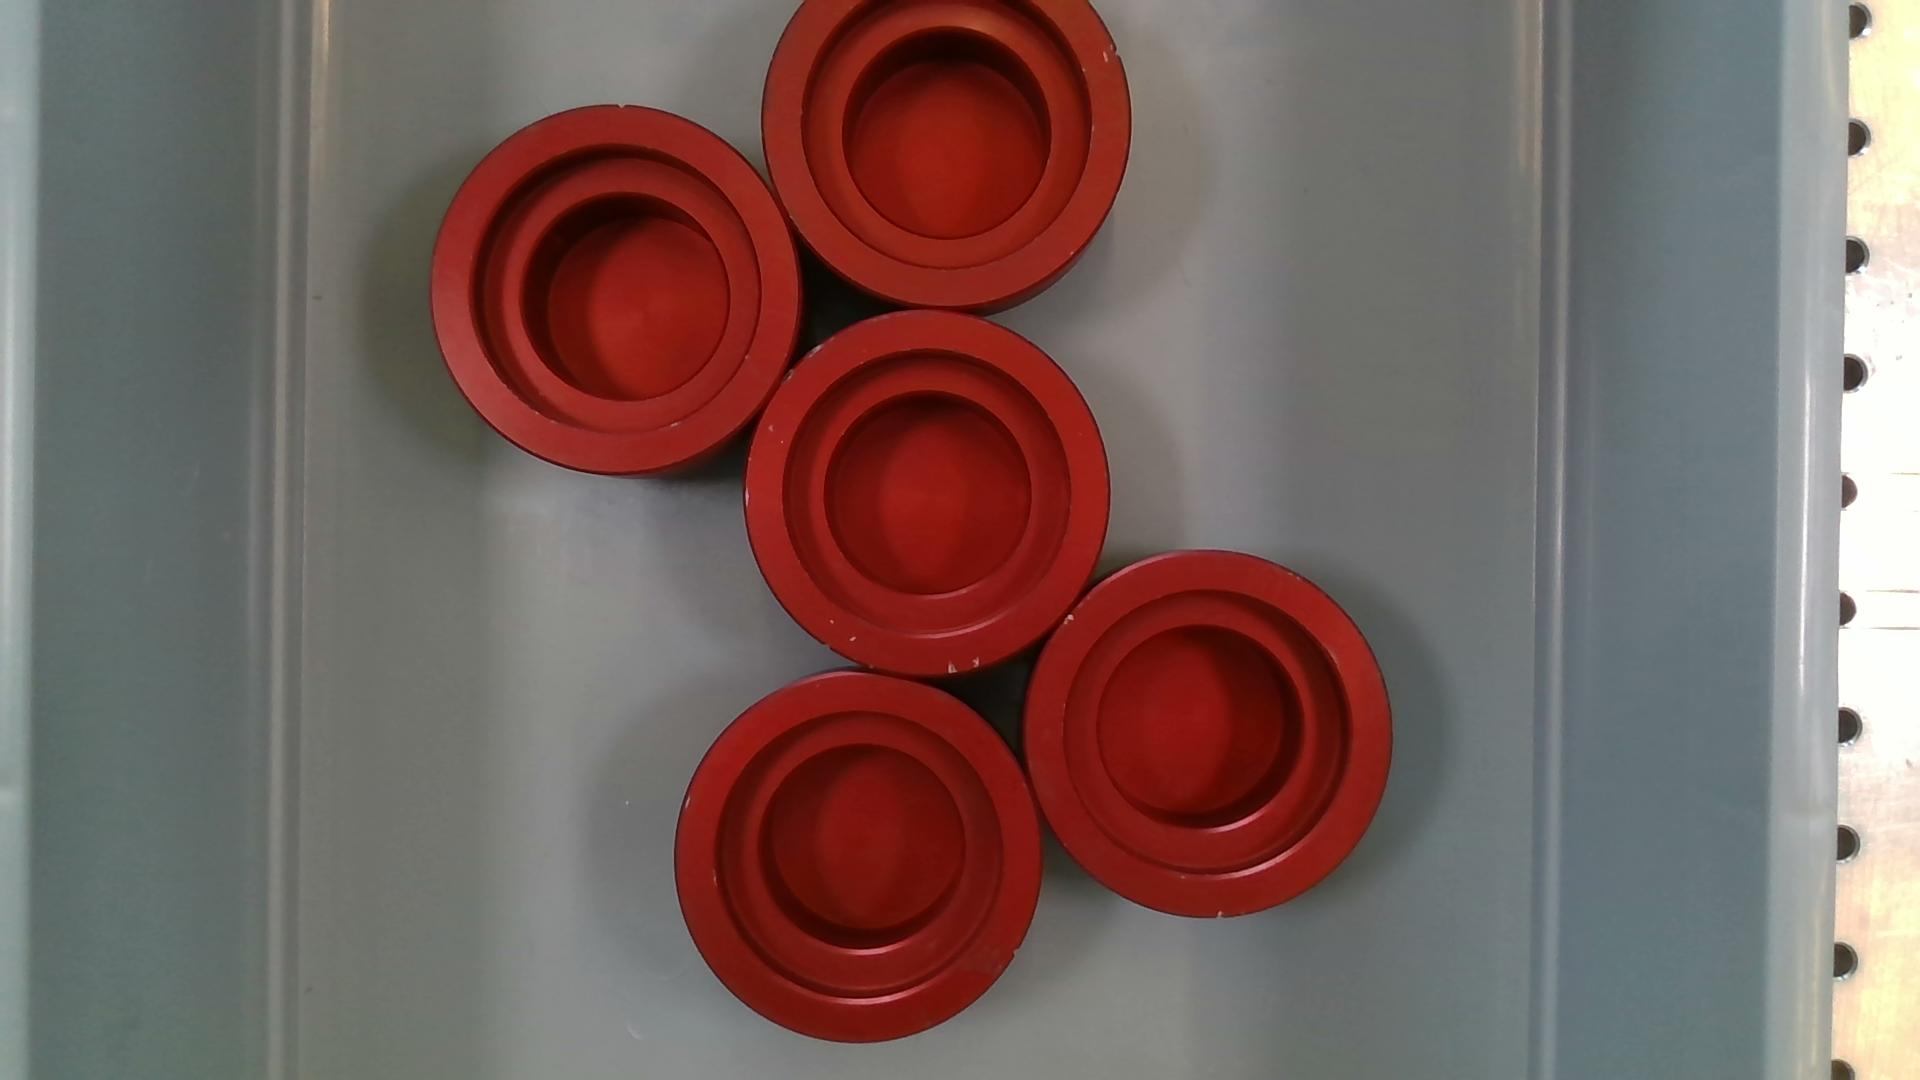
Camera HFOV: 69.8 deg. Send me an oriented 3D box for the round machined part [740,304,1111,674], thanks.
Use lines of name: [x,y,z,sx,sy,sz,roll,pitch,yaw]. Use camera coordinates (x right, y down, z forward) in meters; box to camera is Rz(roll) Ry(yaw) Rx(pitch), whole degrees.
round machined part: [-0.009,-0.013,0.384,0.098,0.042,0.098,0,90,0]

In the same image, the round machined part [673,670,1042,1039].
round machined part: [-0.027,0.084,0.385,0.098,0.042,0.098,0,90,0]

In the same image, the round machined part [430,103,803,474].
round machined part: [-0.091,-0.066,0.384,0.098,0.042,0.098,0,90,0]

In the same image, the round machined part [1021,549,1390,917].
round machined part: [0.065,0.051,0.385,0.098,0.042,0.098,0,90,0]

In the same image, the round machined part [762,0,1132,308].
round machined part: [-0.003,-0.111,0.385,0.098,0.042,0.098,0,90,0]
